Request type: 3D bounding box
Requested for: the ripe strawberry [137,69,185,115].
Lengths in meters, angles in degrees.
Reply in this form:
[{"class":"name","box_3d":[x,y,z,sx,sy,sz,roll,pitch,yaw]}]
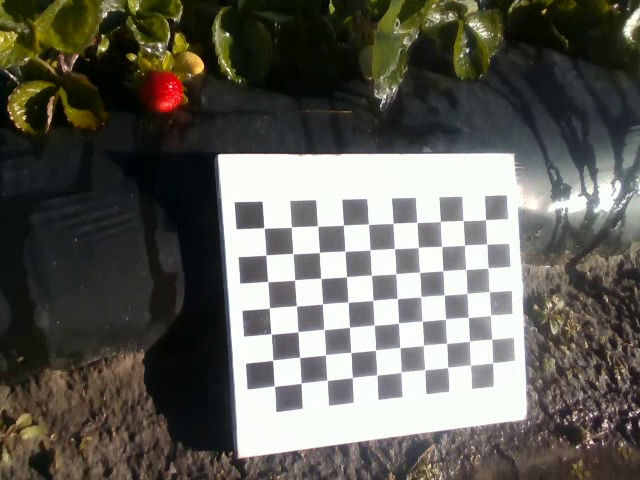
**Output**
[{"class":"ripe strawberry","box_3d":[-0.105,-0.100,0.519,0.039,0.040,0.039,-13,23,-9]}]
